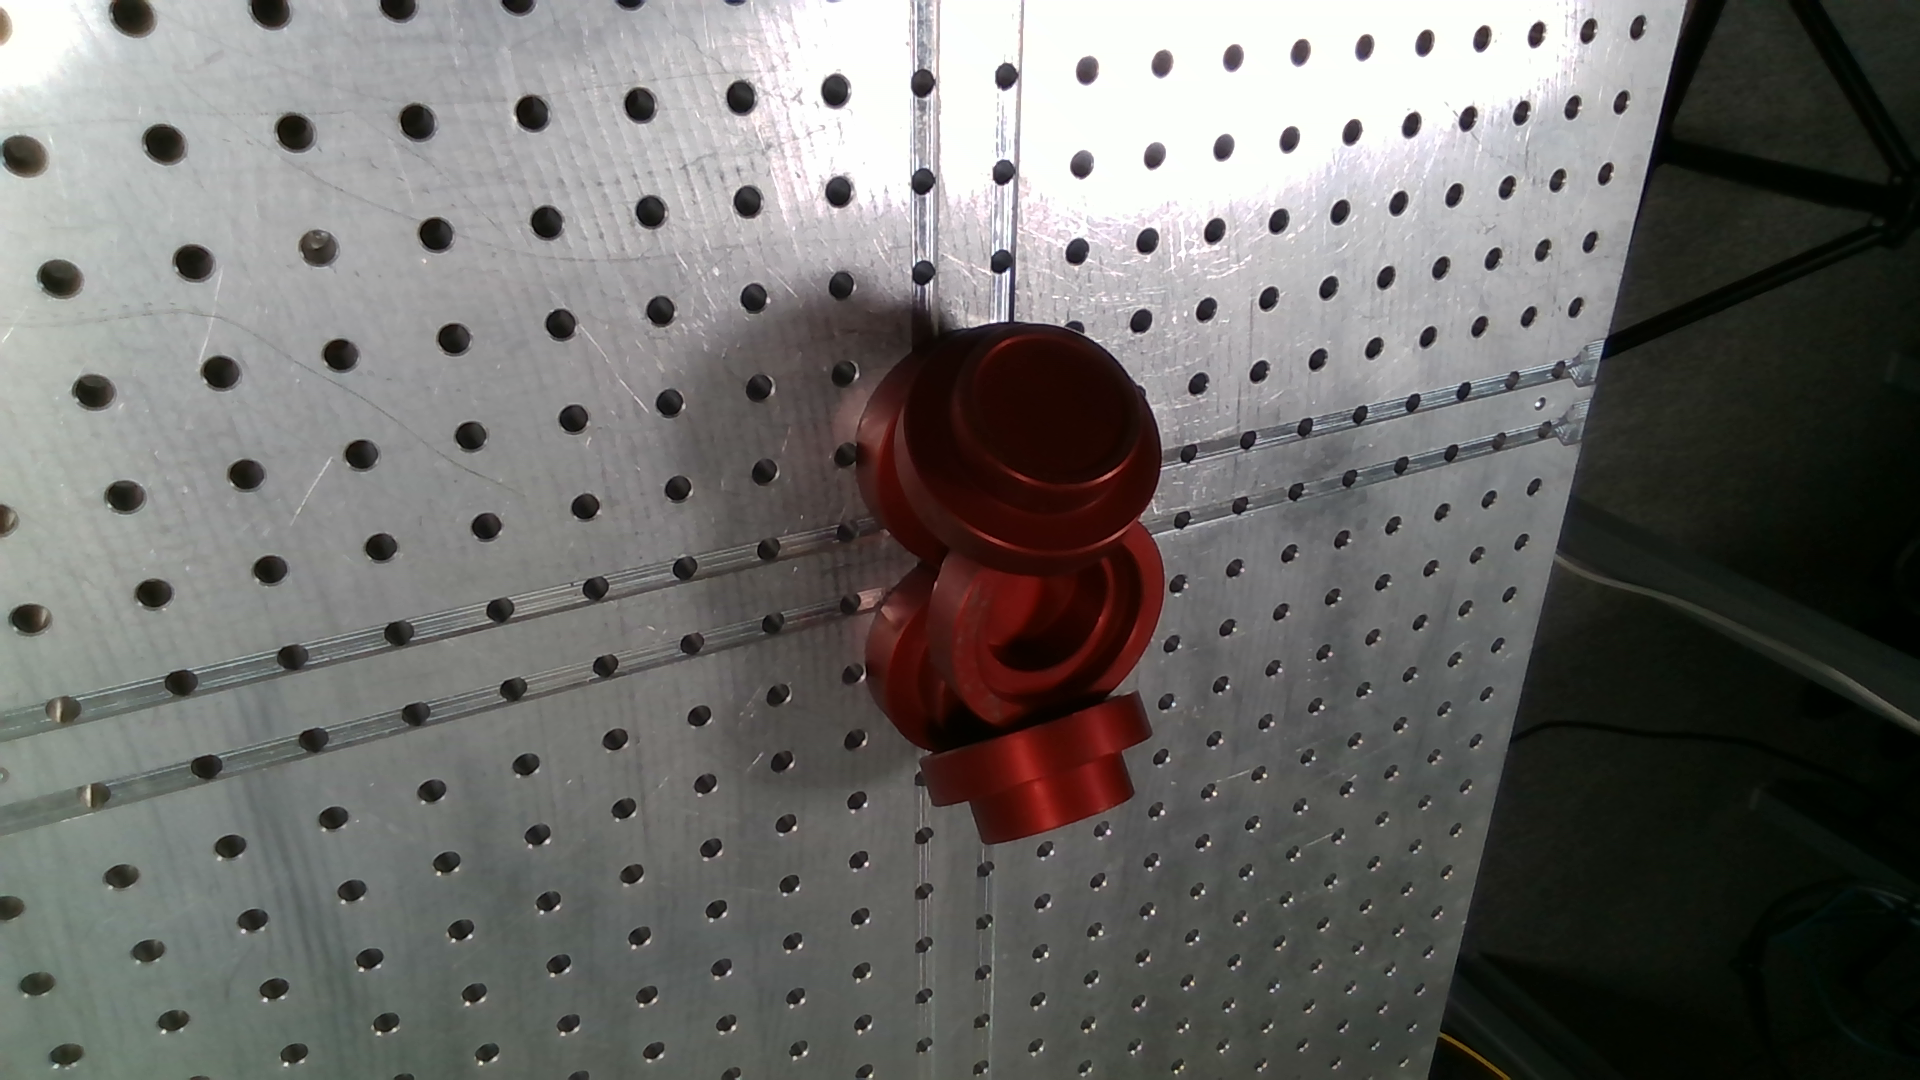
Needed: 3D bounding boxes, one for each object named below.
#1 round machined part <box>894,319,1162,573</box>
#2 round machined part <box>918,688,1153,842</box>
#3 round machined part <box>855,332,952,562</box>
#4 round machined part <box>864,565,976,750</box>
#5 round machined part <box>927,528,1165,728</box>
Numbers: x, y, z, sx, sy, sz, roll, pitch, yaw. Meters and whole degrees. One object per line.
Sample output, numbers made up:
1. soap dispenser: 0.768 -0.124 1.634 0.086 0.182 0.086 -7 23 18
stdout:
1. round machined part: 0.028 -0.040 0.502 0.098 0.098 0.042 -20 161 -22
2. round machined part: 0.035 0.097 0.581 0.098 0.098 0.042 -14 81 -25
3. round machined part: 0.010 -0.033 0.561 0.098 0.042 0.098 -14 122 -25
4. round machined part: 0.010 0.053 0.607 0.098 0.042 0.098 -14 122 -25
5. round machined part: 0.030 0.024 0.548 0.098 0.042 0.098 -14 122 -25
